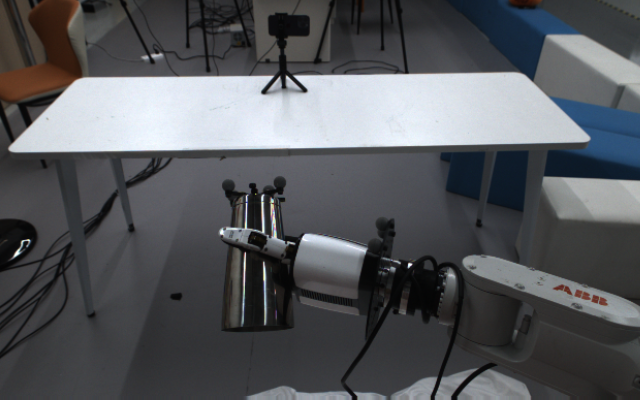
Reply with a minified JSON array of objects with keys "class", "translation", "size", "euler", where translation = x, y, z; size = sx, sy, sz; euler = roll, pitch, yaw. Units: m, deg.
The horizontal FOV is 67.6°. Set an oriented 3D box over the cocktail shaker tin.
[{"class":"cocktail shaker tin","translation":[-0.083,0.083,0.634],"size":[0.093,0.093,0.170],"euler":[-2,70,-5]}]
